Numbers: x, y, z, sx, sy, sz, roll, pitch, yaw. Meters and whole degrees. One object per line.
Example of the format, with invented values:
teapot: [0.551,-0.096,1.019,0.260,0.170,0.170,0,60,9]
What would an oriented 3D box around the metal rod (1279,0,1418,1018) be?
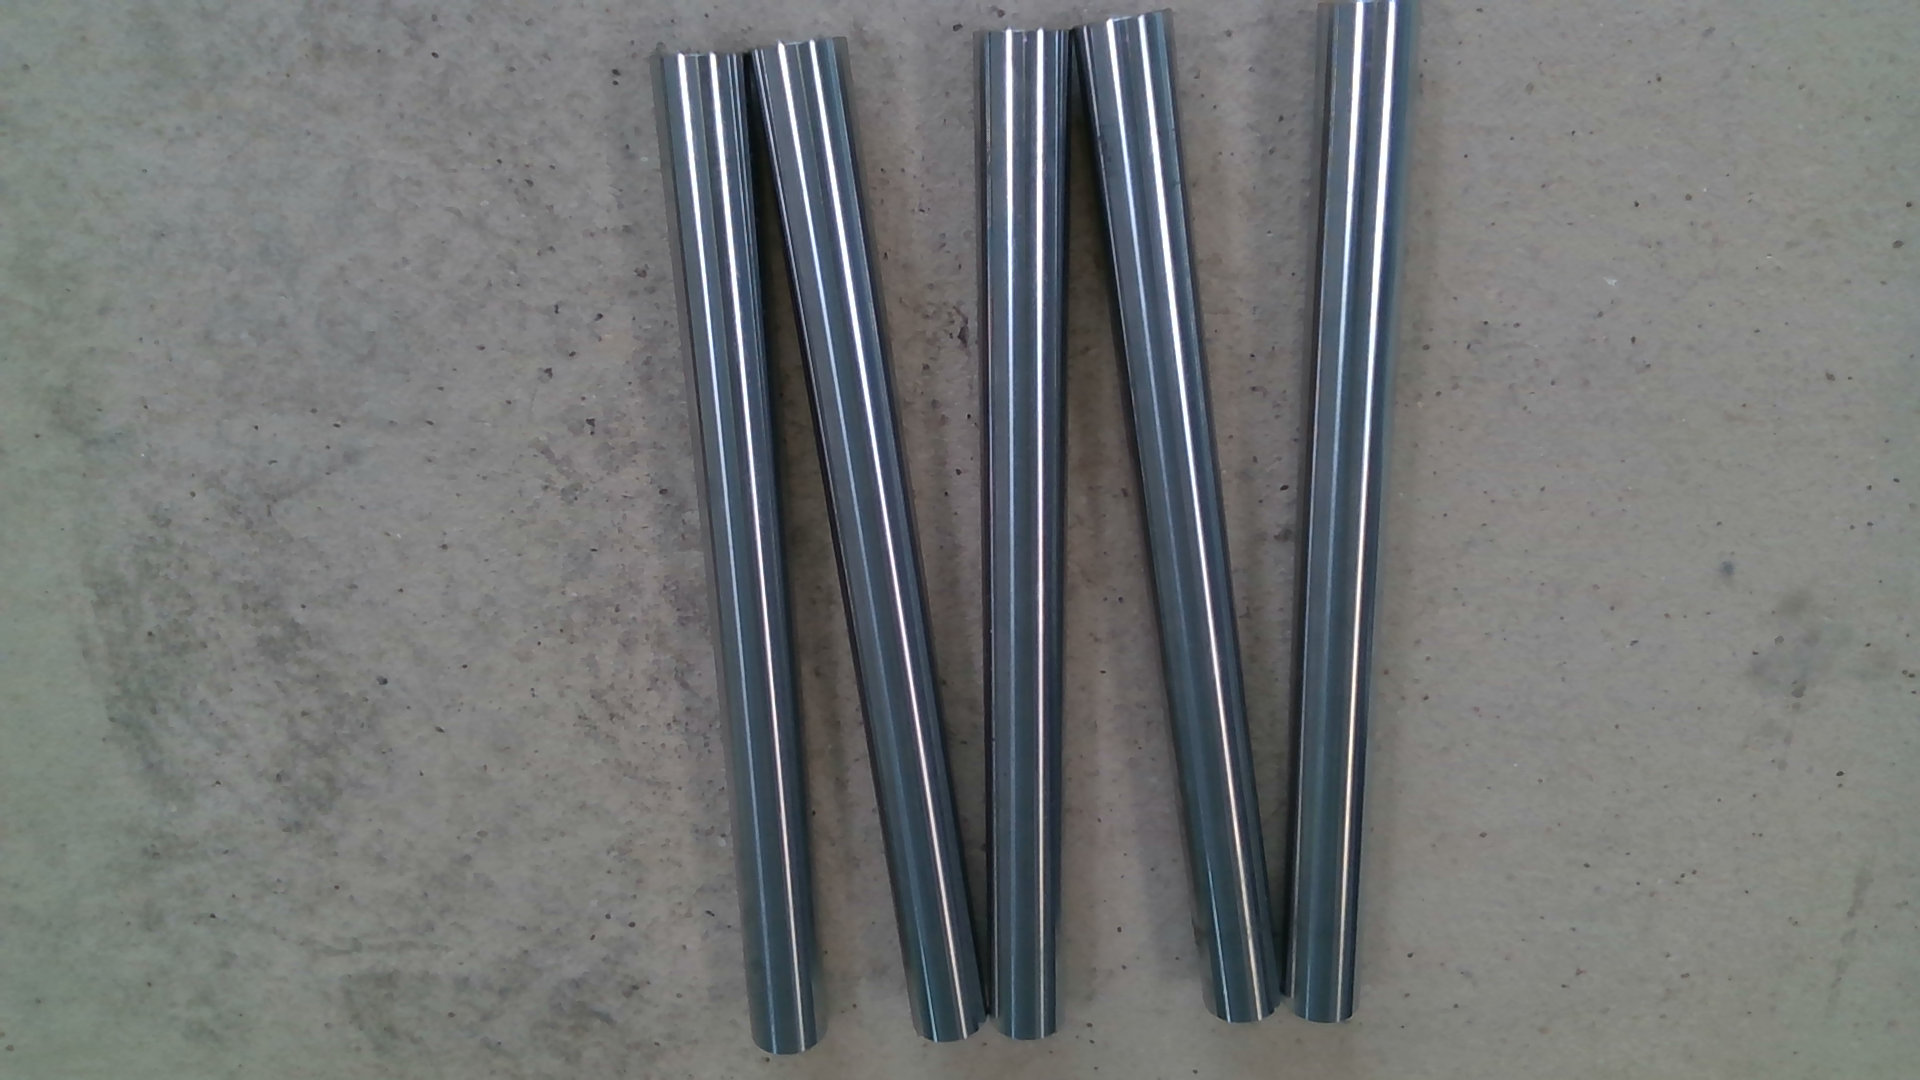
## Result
metal rod: [0.109,0.006,0.396,0.025,0.025,0.301,-3,110,1]

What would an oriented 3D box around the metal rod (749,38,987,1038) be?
metal rod: [-0.022,0.015,0.399,0.025,0.025,0.301,-7,110,2]

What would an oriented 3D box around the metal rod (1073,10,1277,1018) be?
metal rod: [0.066,0.008,0.397,0.025,0.025,0.301,-9,110,3]

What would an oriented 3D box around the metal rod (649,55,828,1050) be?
metal rod: [-0.061,0.018,0.401,0.025,0.025,0.301,-2,110,1]

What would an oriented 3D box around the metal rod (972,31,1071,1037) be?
metal rod: [0.018,0.013,0.398,0.025,0.025,0.301,-1,110,0]
